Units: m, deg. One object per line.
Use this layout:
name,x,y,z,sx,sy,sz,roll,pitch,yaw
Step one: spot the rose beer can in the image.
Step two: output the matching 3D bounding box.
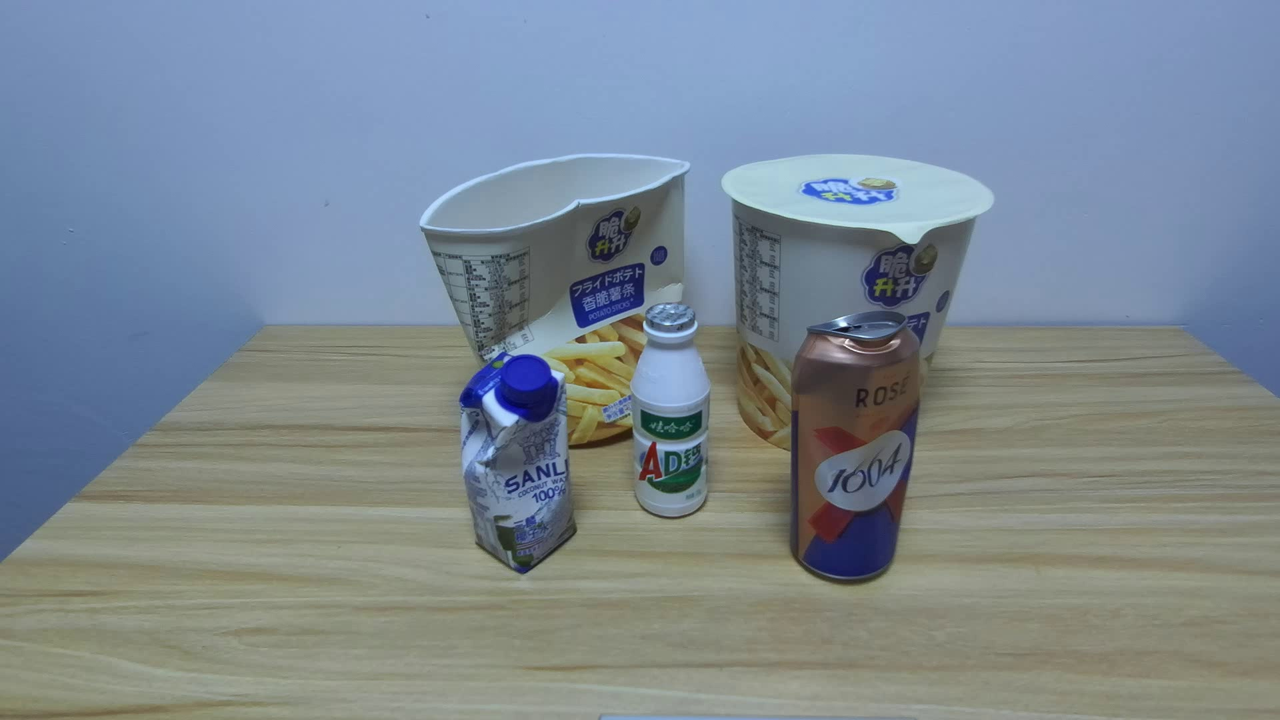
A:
rose beer can,0.127,0.052,0.420,0.069,0.168,0.069,6,28,18

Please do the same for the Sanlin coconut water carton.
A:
Sanlin coconut water carton,-0.079,0.059,0.439,0.069,0.144,0.061,23,37,35

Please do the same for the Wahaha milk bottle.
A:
Wahaha milk bottle,0.021,0.035,0.469,0.053,0.147,0.053,-1,30,1

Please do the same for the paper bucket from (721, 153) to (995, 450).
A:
paper bucket,0.158,-0.044,0.559,0.198,0.195,0.198,-2,31,1

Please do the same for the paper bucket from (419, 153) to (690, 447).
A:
paper bucket,-0.048,-0.050,0.571,0.147,0.199,0.218,8,31,16
